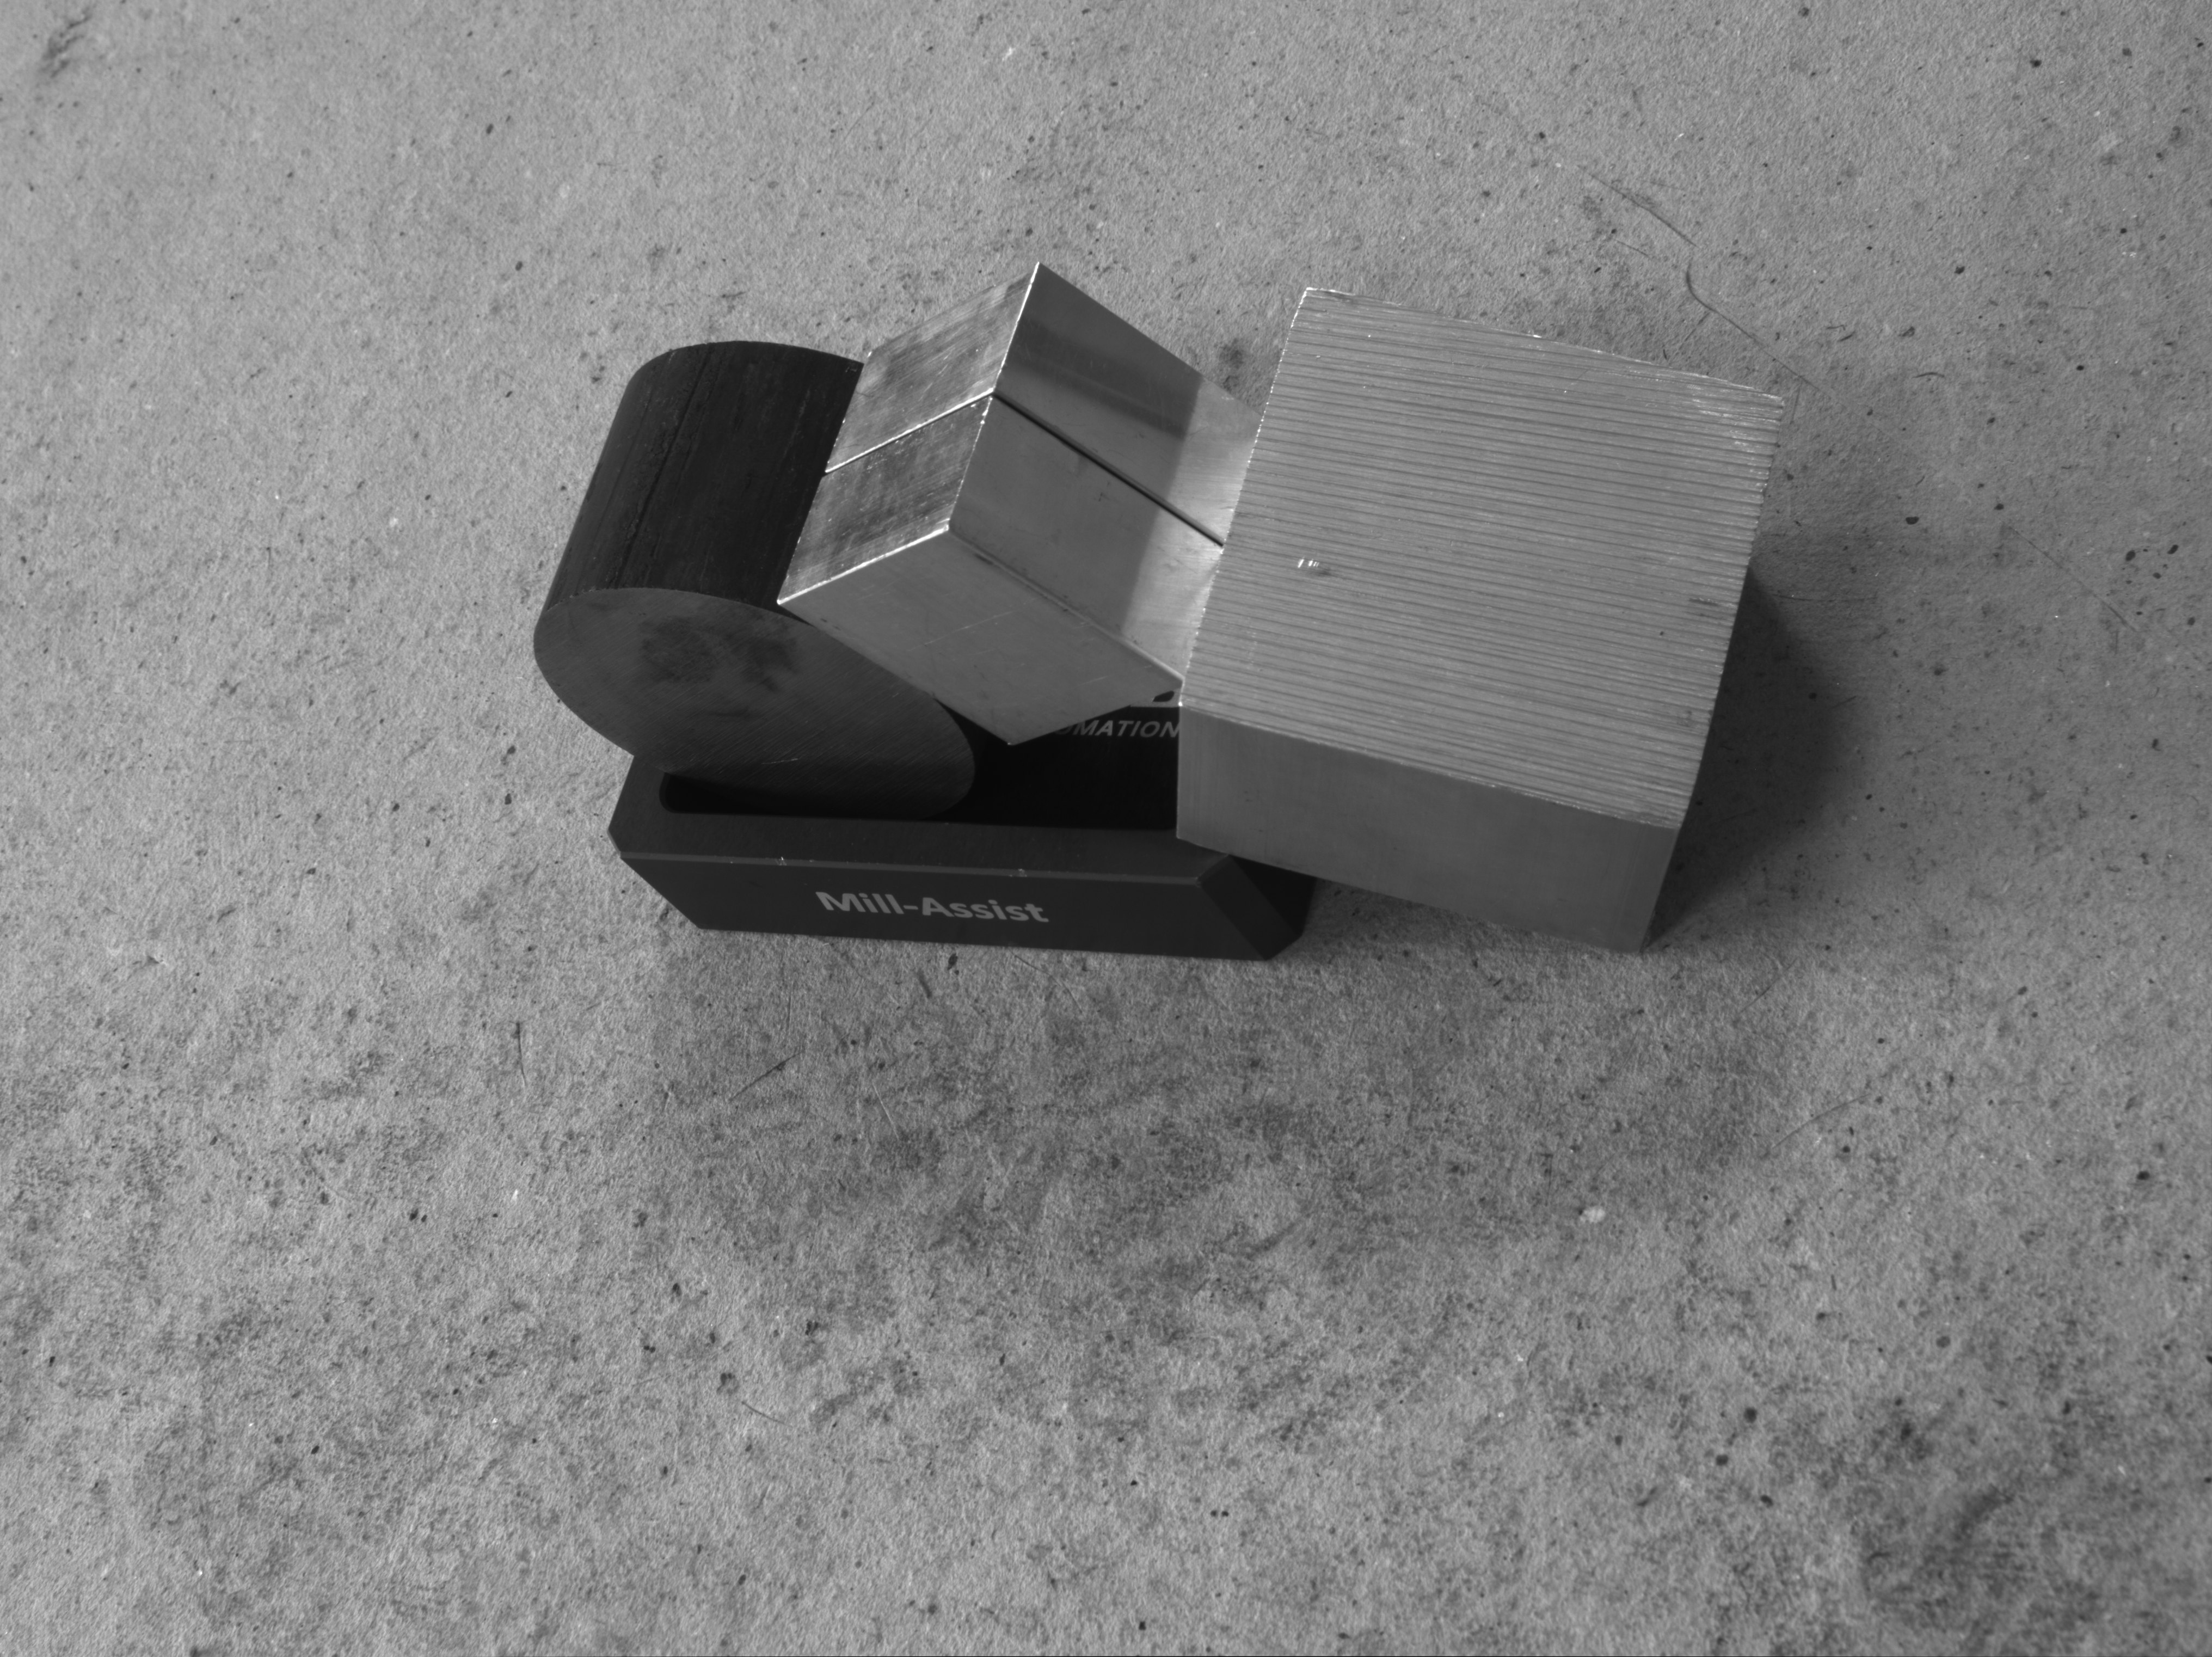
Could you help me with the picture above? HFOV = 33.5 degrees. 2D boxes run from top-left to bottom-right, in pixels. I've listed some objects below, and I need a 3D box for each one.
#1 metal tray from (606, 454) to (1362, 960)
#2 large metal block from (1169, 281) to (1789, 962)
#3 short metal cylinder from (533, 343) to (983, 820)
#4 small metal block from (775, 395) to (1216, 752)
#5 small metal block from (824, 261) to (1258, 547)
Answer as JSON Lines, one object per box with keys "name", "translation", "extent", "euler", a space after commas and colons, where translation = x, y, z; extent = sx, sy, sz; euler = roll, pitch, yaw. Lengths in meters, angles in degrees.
{"name": "metal tray", "translation": [-0.019, -0.026, 0.668], "extent": [0.130, 0.030, 0.090], "euler": [2, 63, 29]}
{"name": "large metal block", "translation": [0.060, -0.034, 0.599], "extent": [0.080, 0.050, 0.080], "euler": [15, 67, 6]}
{"name": "short metal cylinder", "translation": [-0.055, -0.042, 0.649], "extent": [0.080, 0.080, 0.050], "euler": [1, 62, 29]}
{"name": "small metal block", "translation": [-0.017, -0.040, 0.595], "extent": [0.050, 0.050, 0.025], "euler": [-17, 48, 51]}
{"name": "small metal block", "translation": [-0.010, -0.063, 0.606], "extent": [0.050, 0.050, 0.025], "euler": [-17, 48, 51]}
